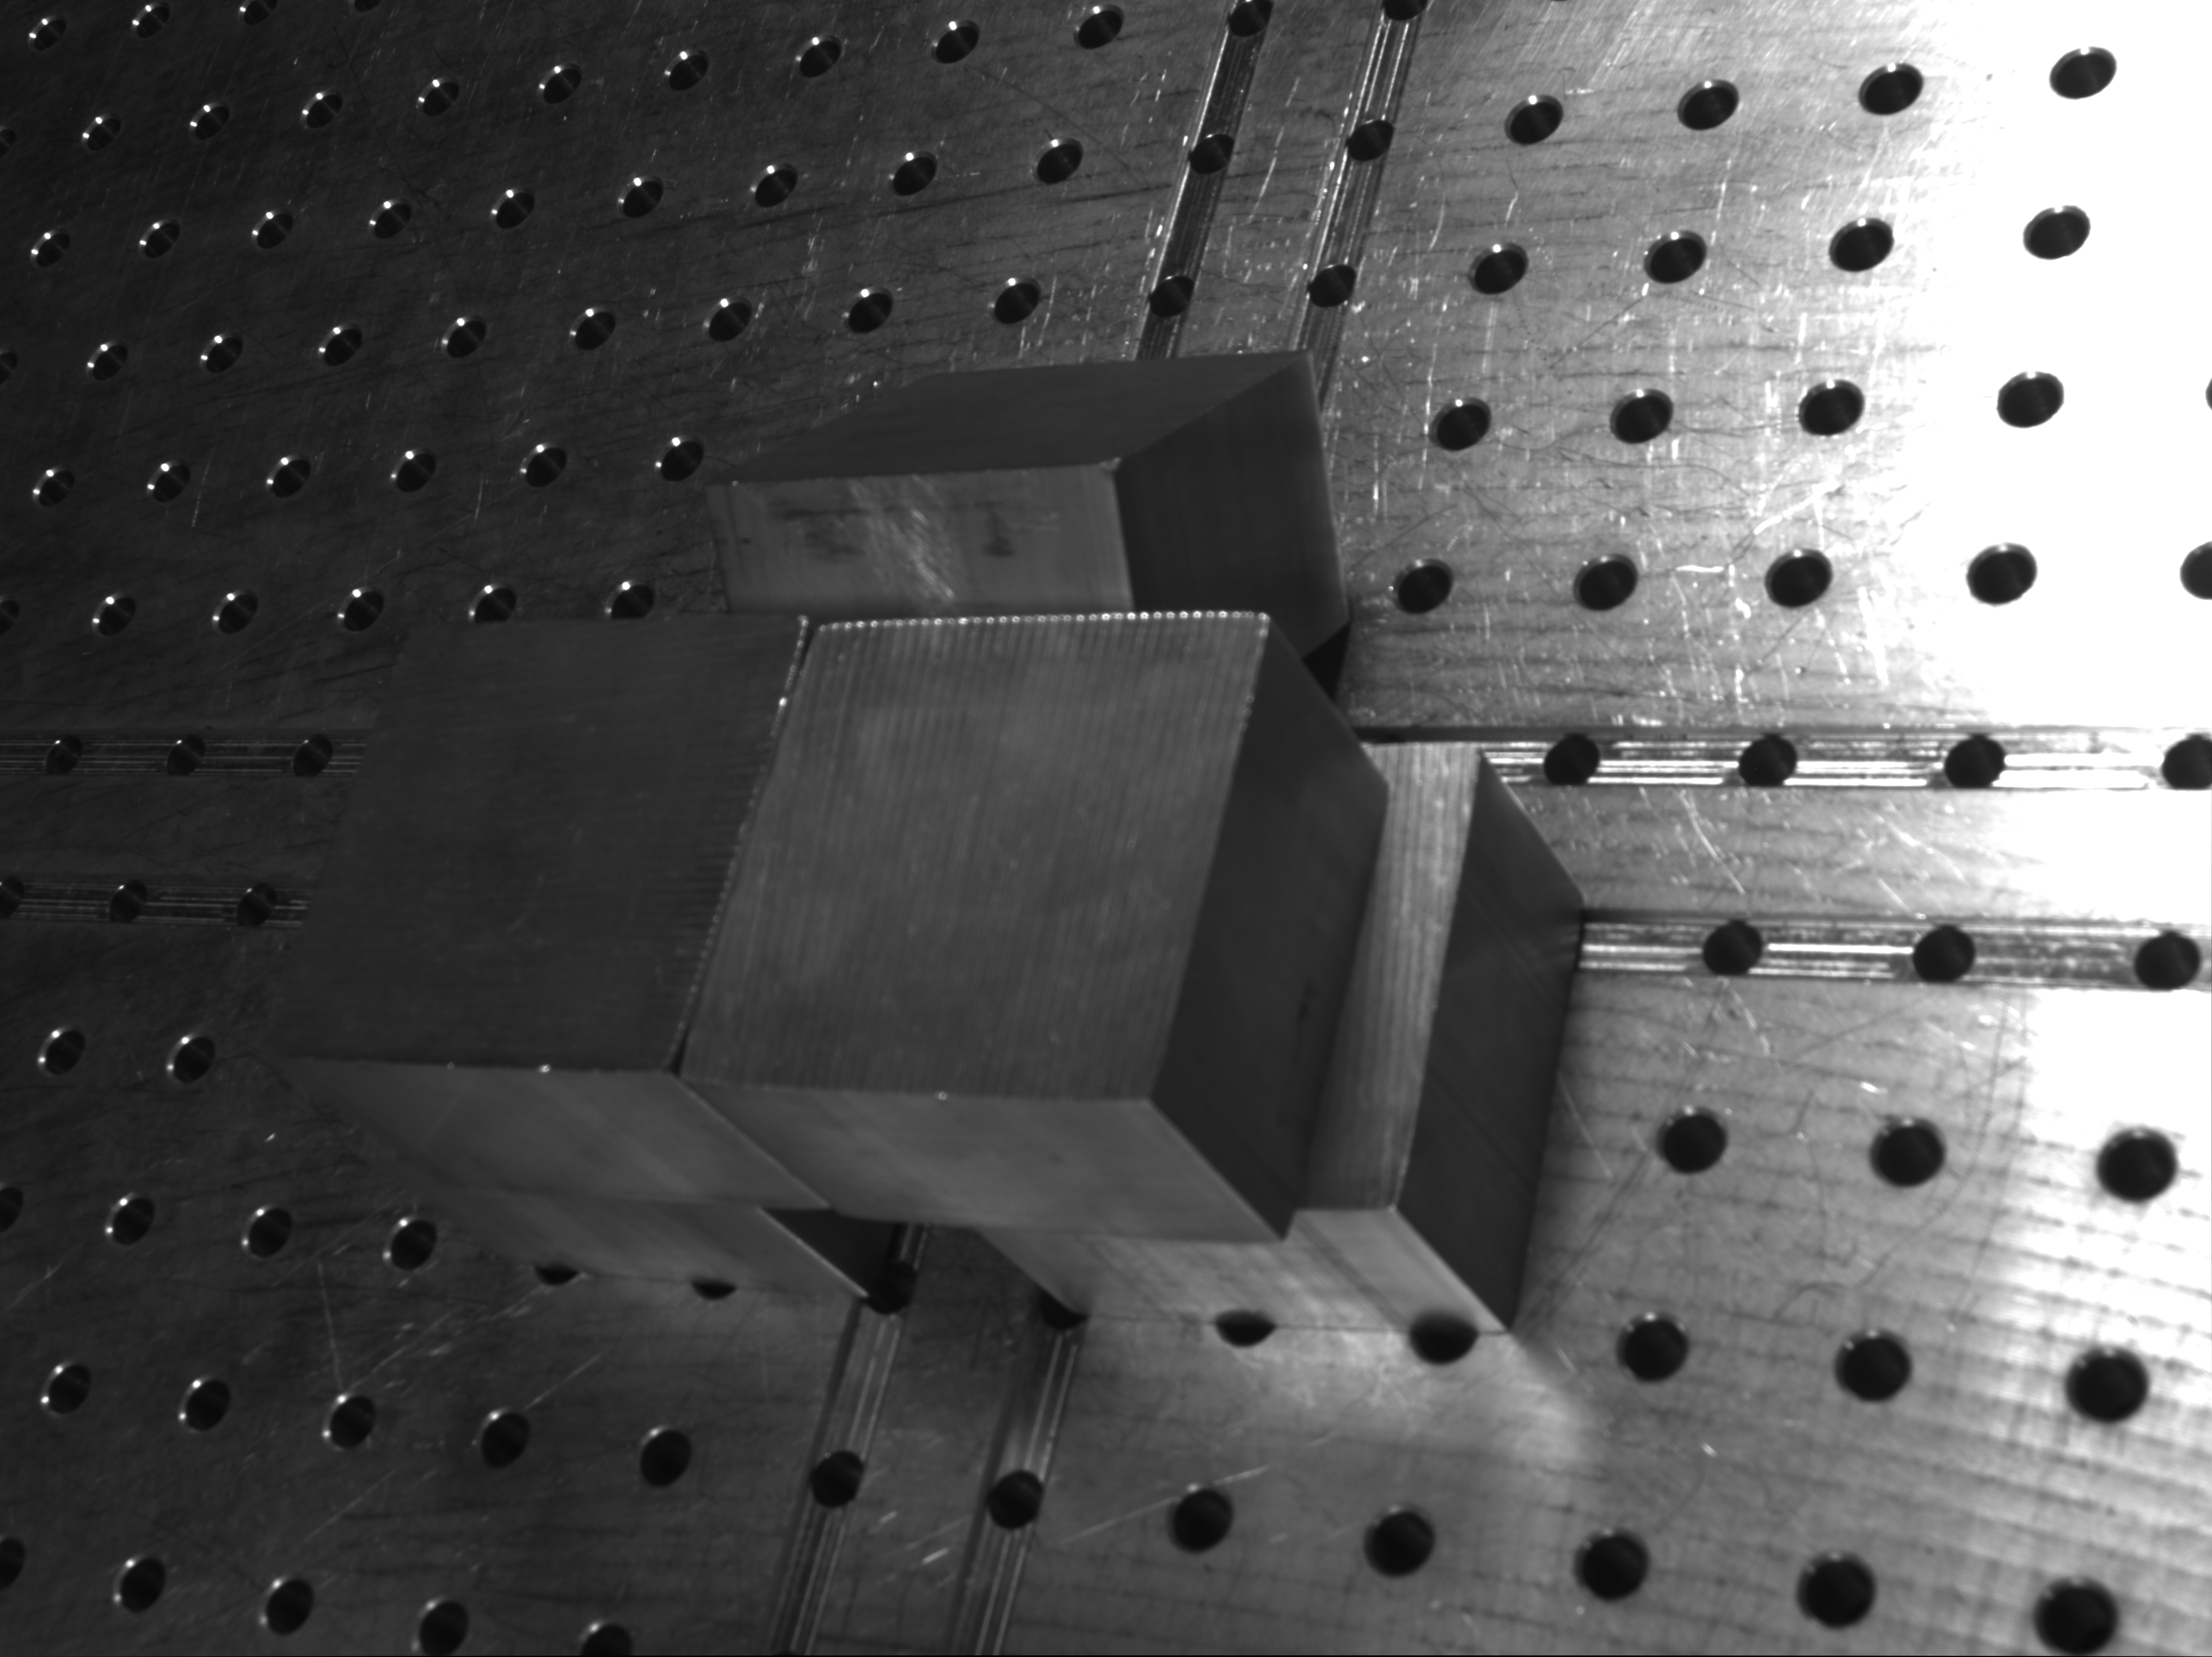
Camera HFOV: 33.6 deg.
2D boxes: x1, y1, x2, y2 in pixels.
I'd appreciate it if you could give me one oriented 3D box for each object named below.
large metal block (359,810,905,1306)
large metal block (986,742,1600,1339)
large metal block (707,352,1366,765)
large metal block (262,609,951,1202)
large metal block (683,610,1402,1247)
[{"bbox_3d":[-0.074,0.035,0.650,0.080,0.050,0.080,1,62,29],"label":"large metal block"},{"bbox_3d":[0.028,0.034,0.594,0.080,0.050,0.080,-1,61,28],"label":"large metal block"},{"bbox_3d":[-0.010,-0.047,0.639,0.080,0.050,0.080,0,20,28],"label":"large metal block"},{"bbox_3d":[-0.079,0.013,0.598,0.080,0.050,0.080,0,61,28],"label":"large metal block"},{"bbox_3d":[-0.008,0.015,0.559,0.080,0.050,0.080,0,61,28],"label":"large metal block"}]
